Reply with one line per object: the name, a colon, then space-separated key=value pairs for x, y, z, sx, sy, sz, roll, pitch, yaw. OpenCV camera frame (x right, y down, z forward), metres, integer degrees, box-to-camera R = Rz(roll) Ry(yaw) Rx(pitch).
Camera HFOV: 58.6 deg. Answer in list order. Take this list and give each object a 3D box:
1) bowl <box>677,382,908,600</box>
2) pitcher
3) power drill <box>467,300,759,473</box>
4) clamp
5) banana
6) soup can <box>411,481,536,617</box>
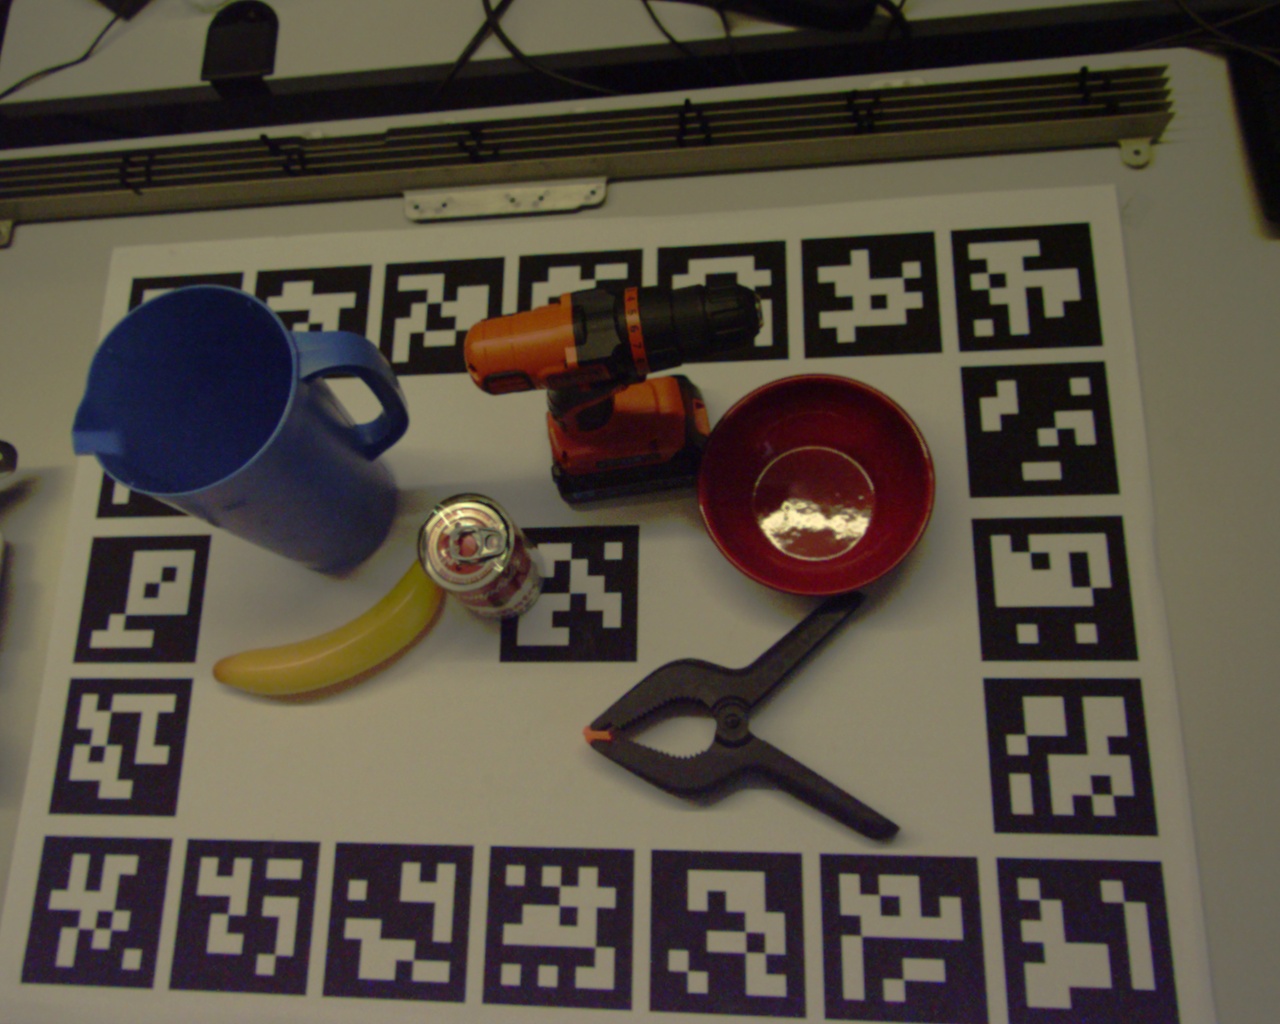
bowl: x=0.110 y=-0.010 z=0.827 sx=0.162 sy=0.055 sz=0.162 roll=-3 pitch=75 yaw=9
pitcher: x=-0.247 y=-0.045 z=0.798 sx=0.189 sy=0.241 sz=0.134 roll=-25 pitch=69 yaw=1
power drill: x=-0.010 y=-0.085 z=0.780 sx=0.185 sy=0.186 sz=0.057 roll=-7 pitch=74 yaw=6
clamp: x=0.050 y=0.145 z=0.795 sx=0.203 sy=0.036 sz=0.166 roll=-4 pitch=77 yaw=8
banana: x=-0.237 y=0.091 z=0.866 sx=0.197 sy=0.038 sz=0.075 roll=-26 pitch=64 yaw=-1
soup can: x=-0.119 y=0.030 z=0.830 sx=0.068 sy=0.101 sz=0.068 roll=-4 pitch=65 yaw=7
